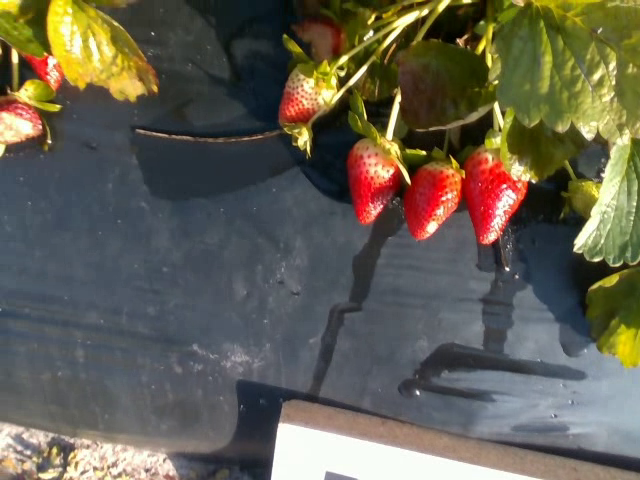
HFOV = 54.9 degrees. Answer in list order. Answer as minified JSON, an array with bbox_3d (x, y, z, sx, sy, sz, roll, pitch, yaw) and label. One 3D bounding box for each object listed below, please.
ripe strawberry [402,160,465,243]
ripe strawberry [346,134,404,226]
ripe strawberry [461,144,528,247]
[{"bbox_3d":[0.052,-0.018,0.289,0.031,0.039,0.036,19,-24,-1],"label":"ripe strawberry"},{"bbox_3d":[0.025,-0.026,0.297,0.032,0.045,0.023,11,25,5],"label":"ripe strawberry"},{"bbox_3d":[0.081,-0.014,0.290,0.035,0.041,0.033,8,-12,8],"label":"ripe strawberry"}]
